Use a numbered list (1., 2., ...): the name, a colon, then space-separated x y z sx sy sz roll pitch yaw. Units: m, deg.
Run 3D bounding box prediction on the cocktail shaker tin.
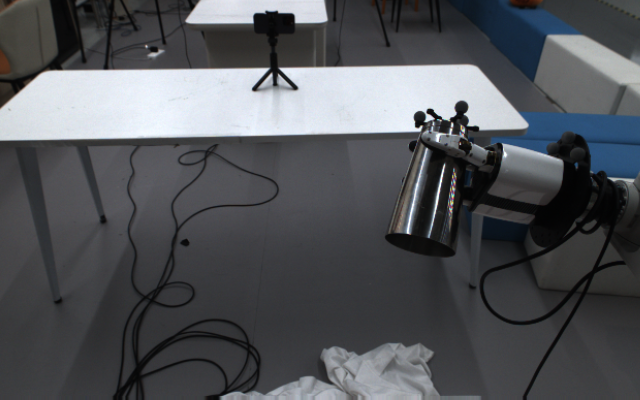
1. cocktail shaker tin: 0.152 -0.022 0.652 0.093 0.093 0.170 13 72 15
